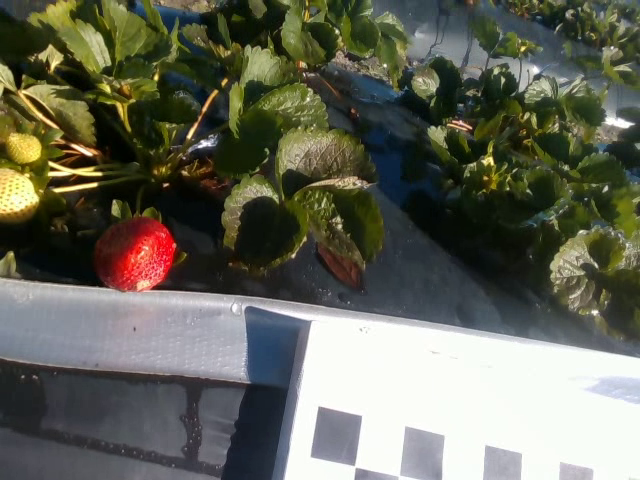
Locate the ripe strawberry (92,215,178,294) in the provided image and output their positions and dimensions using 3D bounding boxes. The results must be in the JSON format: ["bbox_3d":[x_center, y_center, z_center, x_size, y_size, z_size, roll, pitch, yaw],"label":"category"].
[{"bbox_3d":[-0.074,0.006,0.241,0.036,0.038,0.045,13,-6,-12],"label":"ripe strawberry"}]
